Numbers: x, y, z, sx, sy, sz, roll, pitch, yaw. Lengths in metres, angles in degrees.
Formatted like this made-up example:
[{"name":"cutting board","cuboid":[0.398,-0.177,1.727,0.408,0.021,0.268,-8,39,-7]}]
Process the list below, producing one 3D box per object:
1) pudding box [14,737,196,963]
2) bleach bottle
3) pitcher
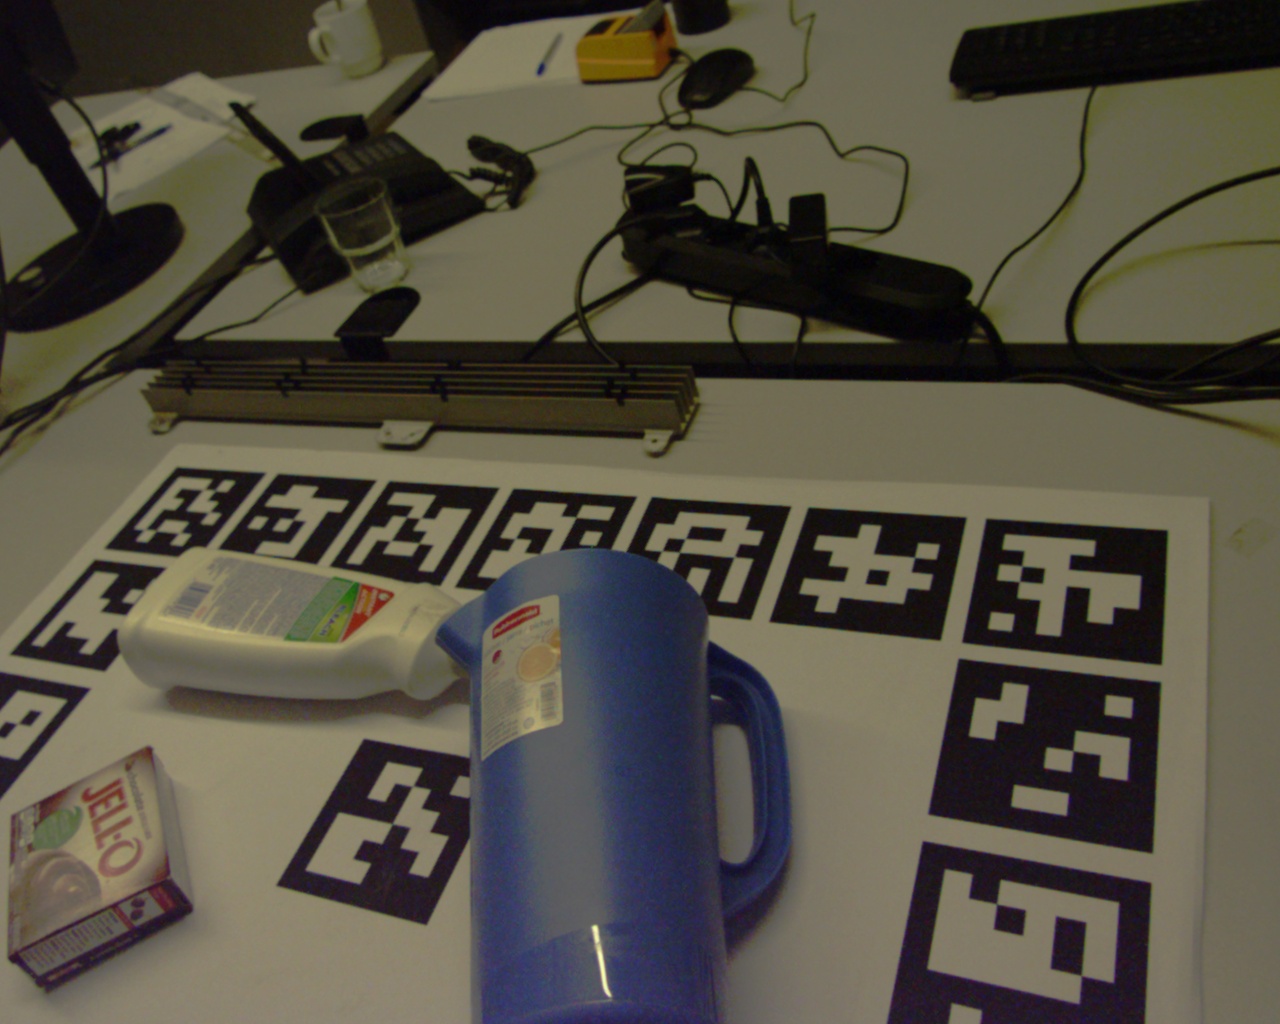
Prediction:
[{"name":"pudding box","cuboid":[-0.324,0.202,0.690,0.089,0.038,0.115,-23,42,-13]},{"name":"bleach bottle","cuboid":[-0.215,0.079,0.772,0.253,0.067,0.102,3,50,21]},{"name":"pitcher","cuboid":[-0.014,0.158,0.585,0.187,0.134,0.244,11,44,-18]}]
